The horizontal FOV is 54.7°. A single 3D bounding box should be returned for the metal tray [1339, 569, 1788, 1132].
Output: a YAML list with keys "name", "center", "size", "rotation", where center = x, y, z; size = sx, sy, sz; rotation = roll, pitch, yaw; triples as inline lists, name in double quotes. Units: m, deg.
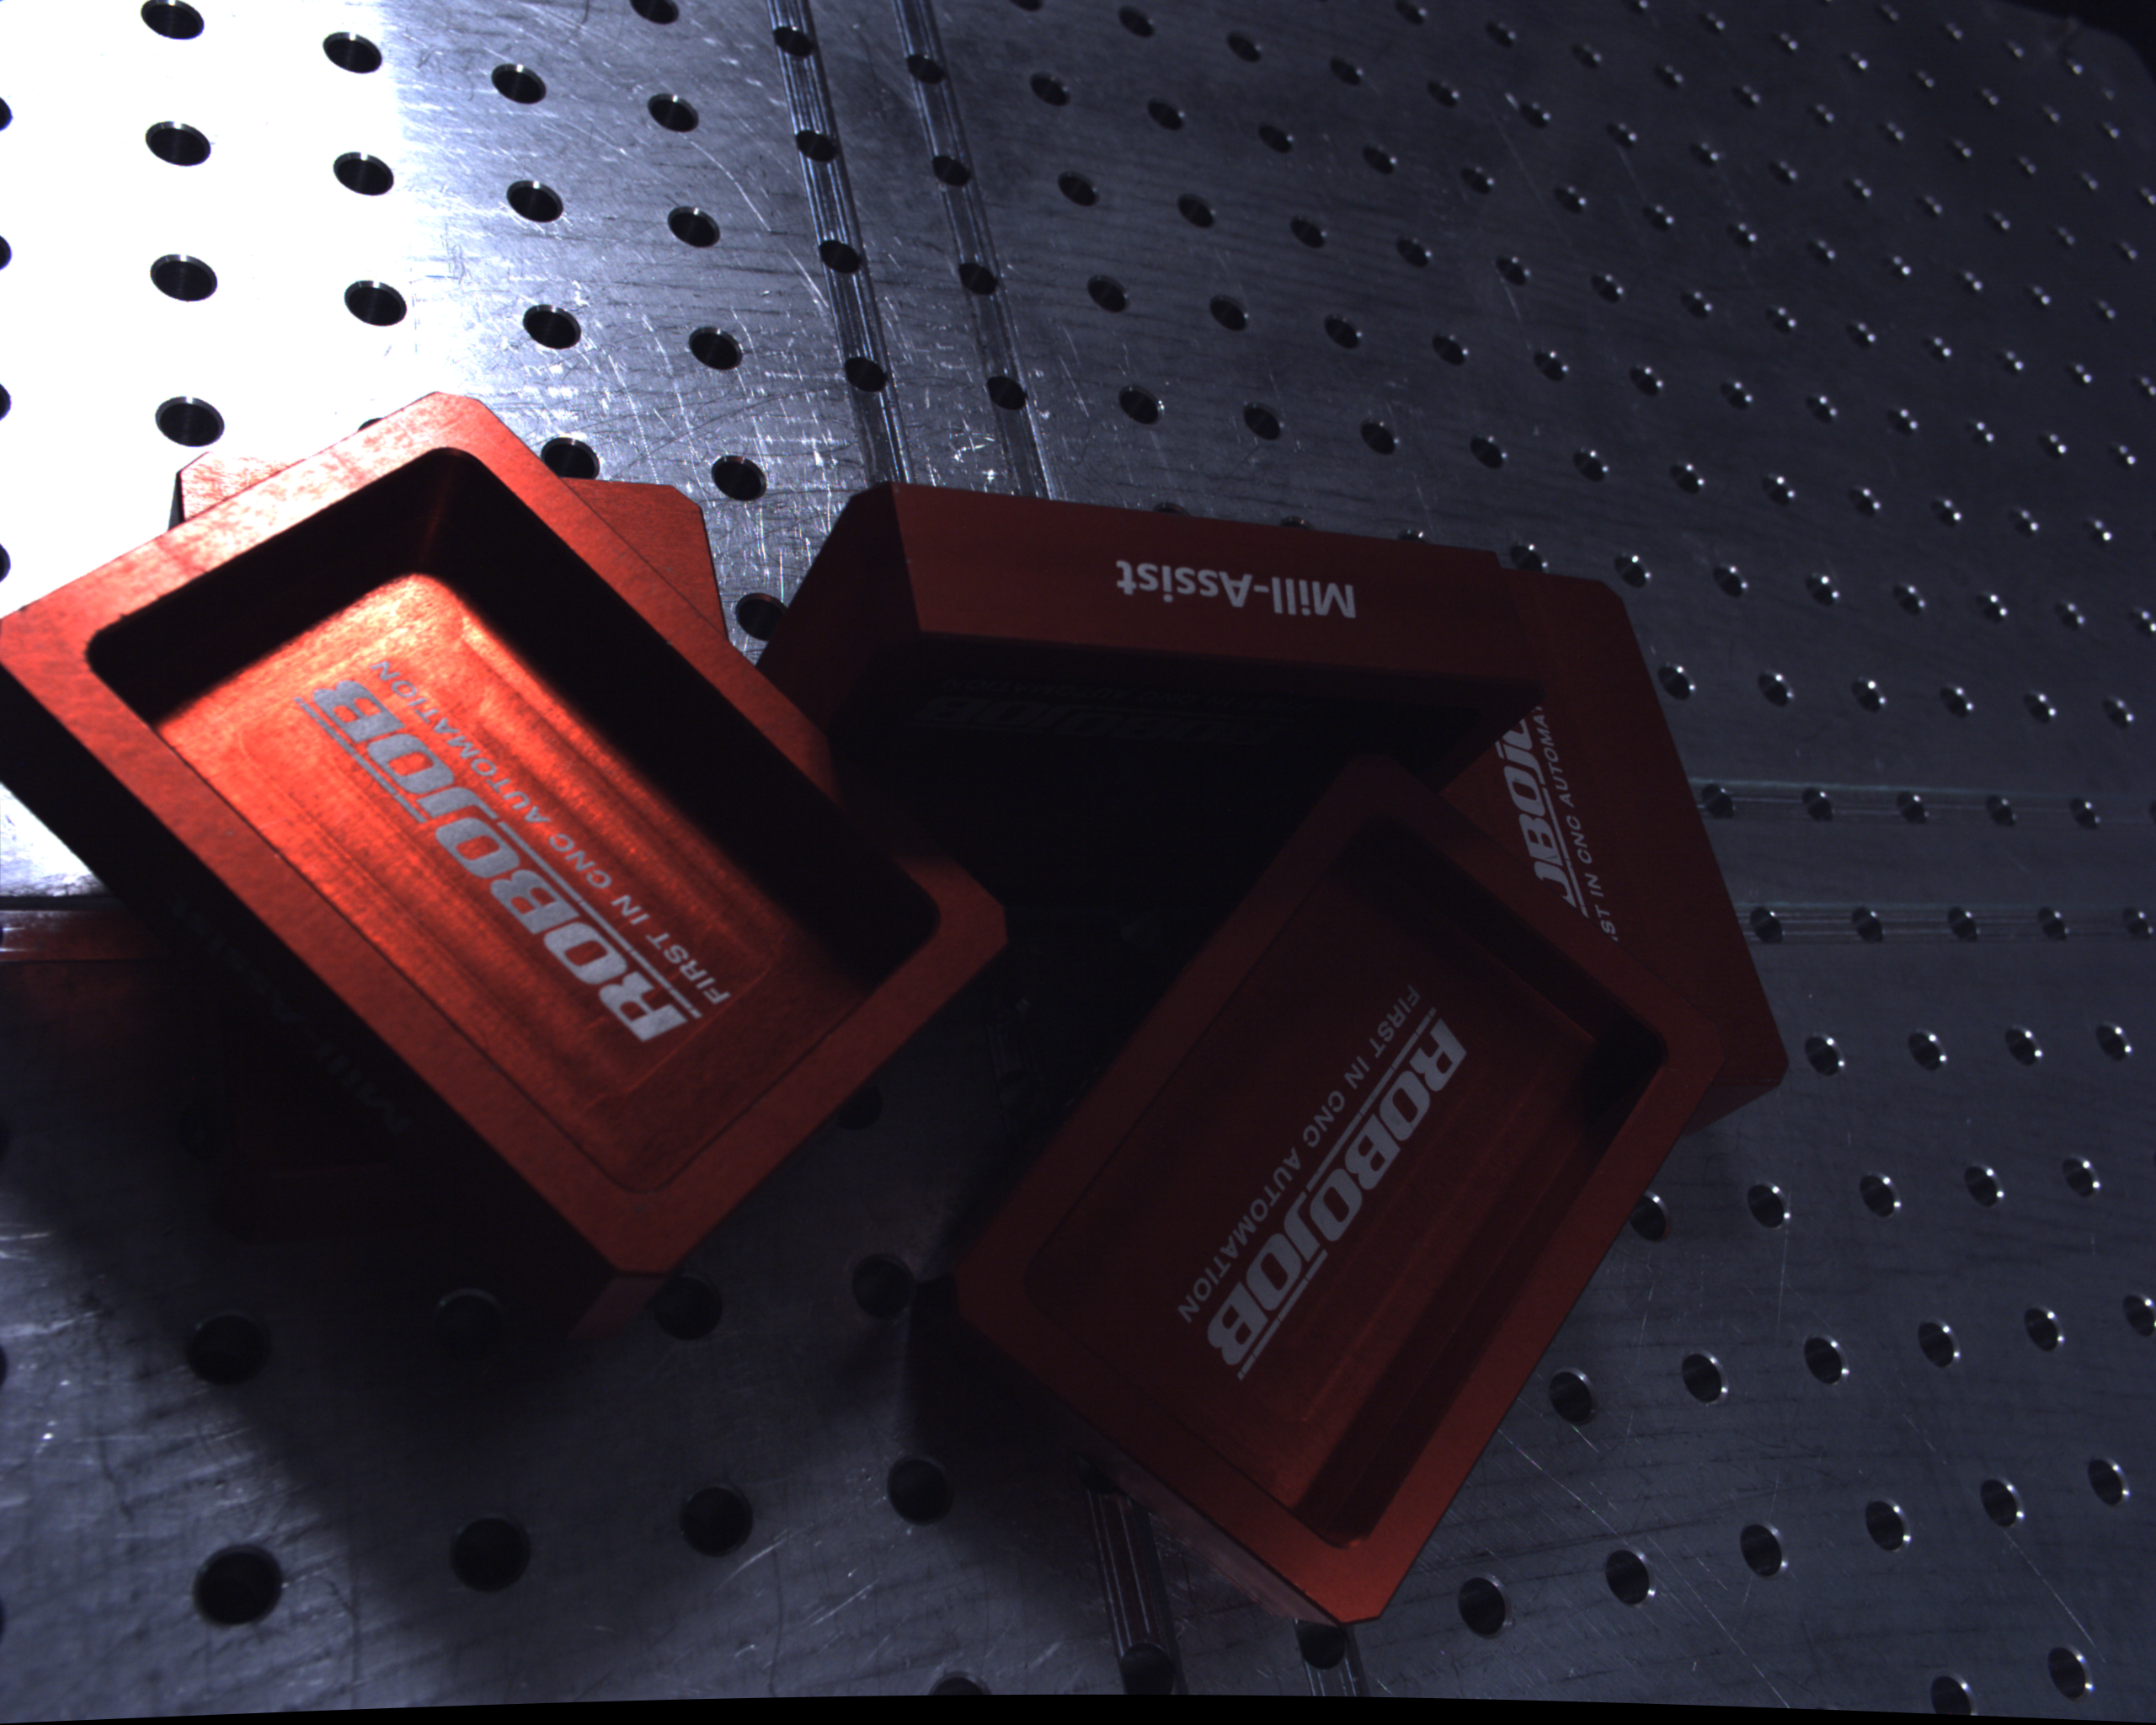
- name: "metal tray"
  center: [0.094, -0.006, 0.460]
  size: [0.091, 0.030, 0.130]
  rotation: [3, 61, -27]

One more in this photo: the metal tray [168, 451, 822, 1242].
- name: "metal tray"
  center: [-0.102, -0.006, 0.355]
  size: [0.091, 0.030, 0.130]
  rotation: [-1, 63, -29]

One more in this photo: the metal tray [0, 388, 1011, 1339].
- name: "metal tray"
  center: [-0.086, -0.004, 0.321]
  size: [0.130, 0.030, 0.090]
  rotation: [44, 50, 2]

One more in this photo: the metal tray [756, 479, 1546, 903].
- name: "metal tray"
  center: [0.008, -0.026, 0.387]
  size: [0.131, 0.090, 0.030]
  rotation: [1, 61, -28]

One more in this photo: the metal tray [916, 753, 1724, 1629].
- name: "metal tray"
  center: [0.046, 0.056, 0.373]
  size: [0.090, 0.030, 0.130]
  rotation: [40, 68, -2]
